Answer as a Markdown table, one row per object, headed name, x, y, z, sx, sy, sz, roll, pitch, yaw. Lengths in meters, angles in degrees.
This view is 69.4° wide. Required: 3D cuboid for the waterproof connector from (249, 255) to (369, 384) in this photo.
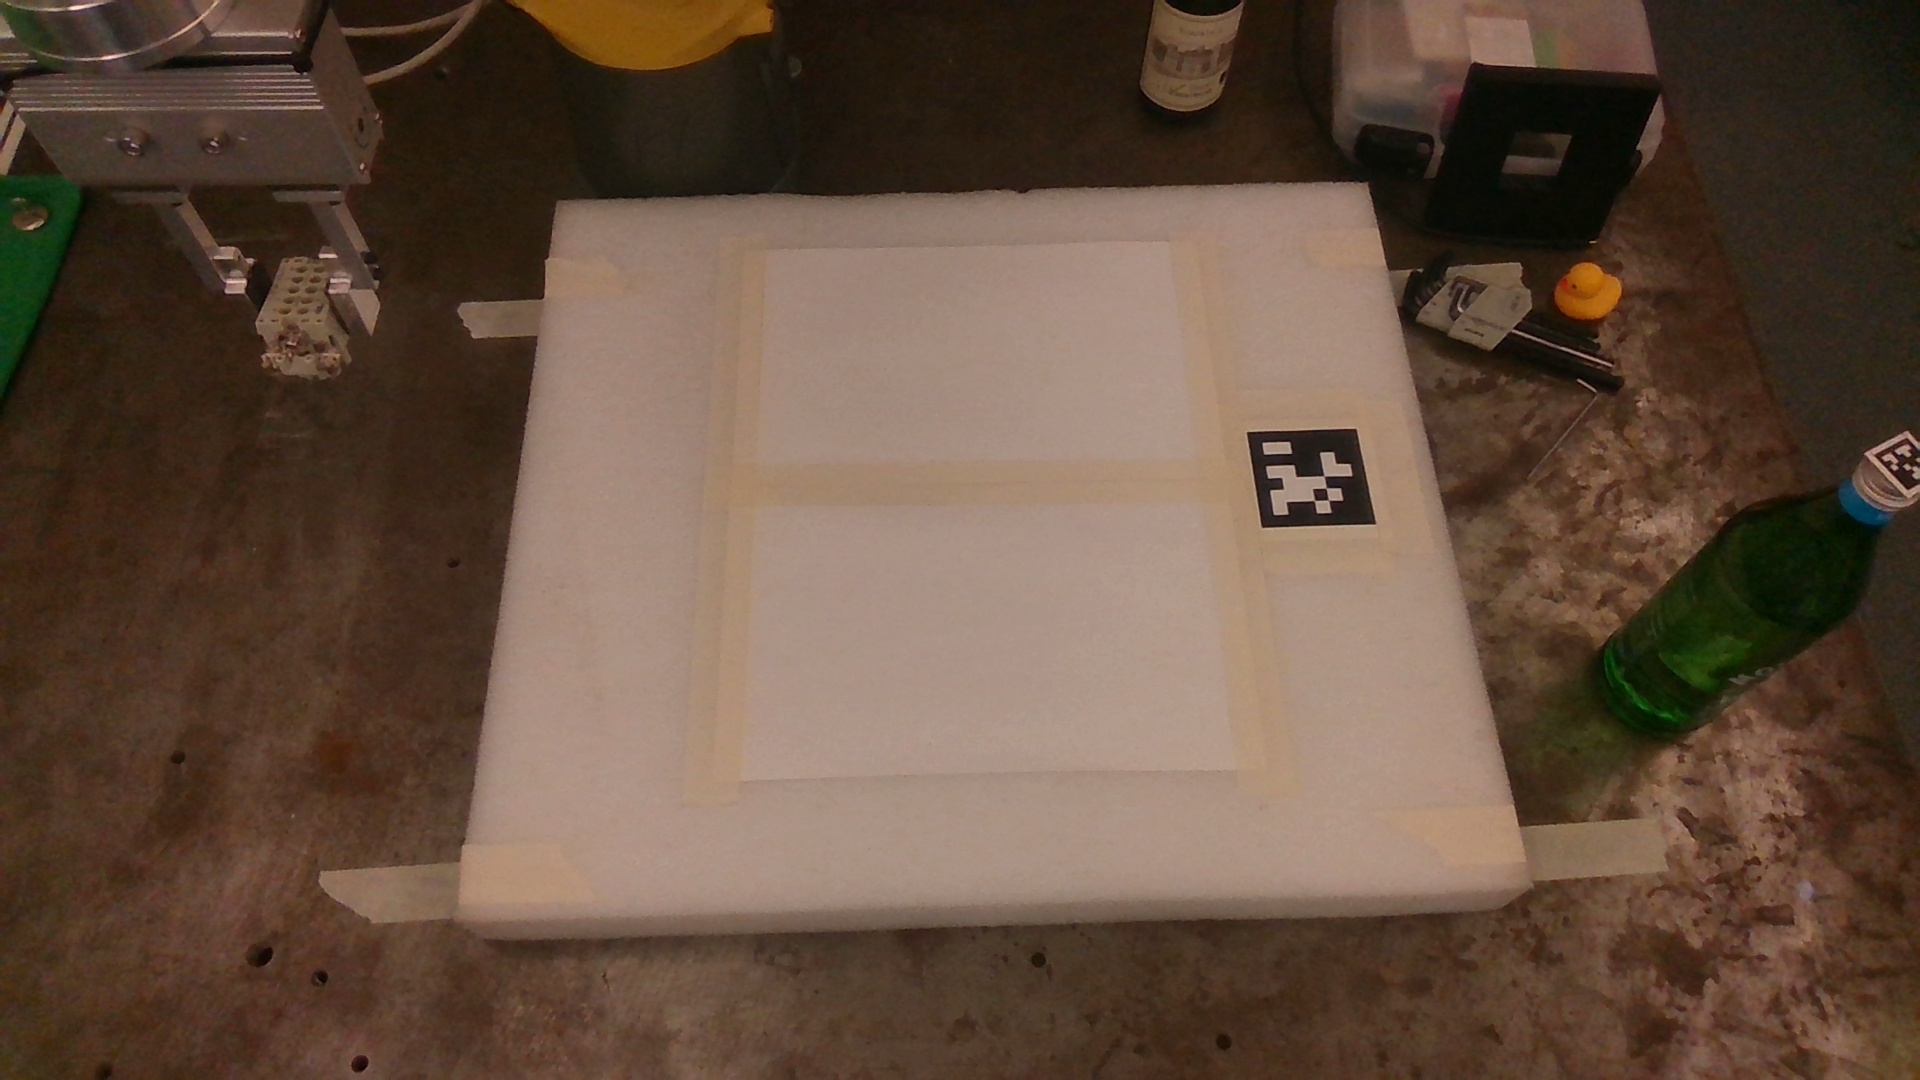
| name | x | y | z | sx | sy | sz | roll | pitch | yaw |
| --- | --- | --- | --- | --- | --- | --- | --- | --- | --- |
| waterproof connector | -0.302 | -0.103 | 0.647 | 0.037 | 0.038 | 0.069 | 0 | 52 | -2 |
